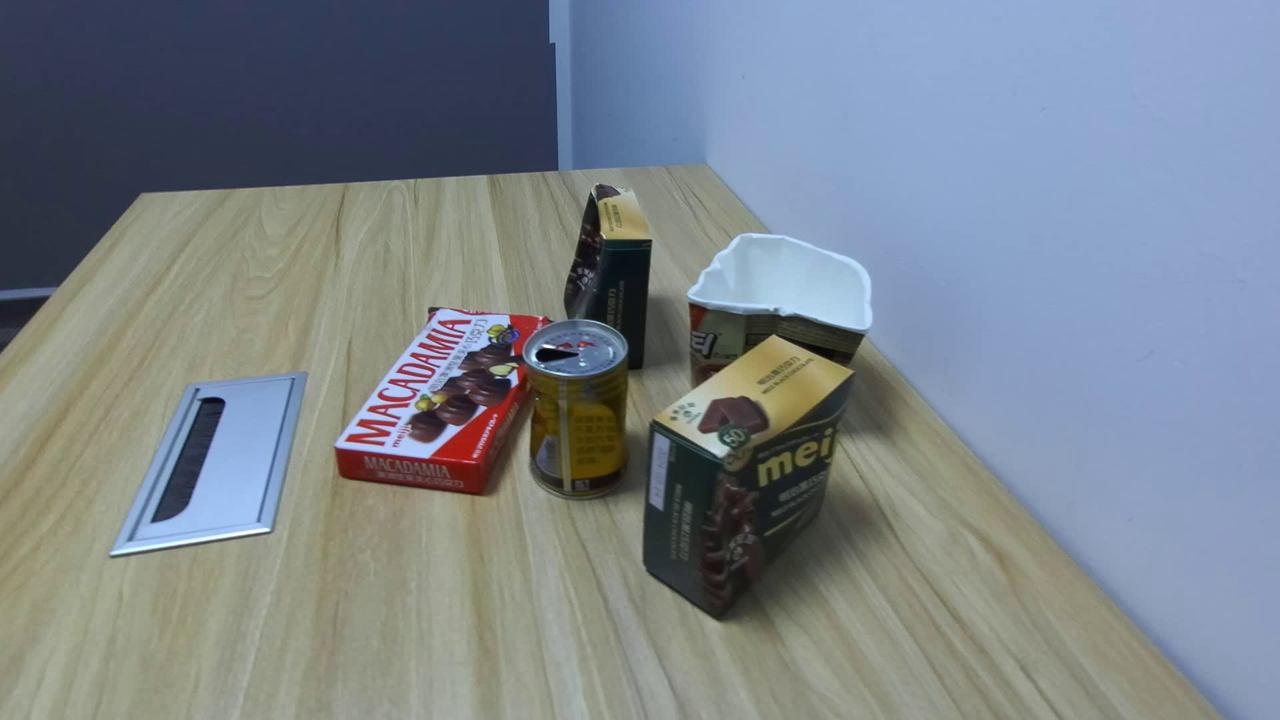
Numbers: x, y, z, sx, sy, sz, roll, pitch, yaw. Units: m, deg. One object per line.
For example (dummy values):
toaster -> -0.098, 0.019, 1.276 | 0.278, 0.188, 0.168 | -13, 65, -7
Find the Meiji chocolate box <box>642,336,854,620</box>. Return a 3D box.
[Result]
Meiji chocolate box -> 0.058, 0.061, 0.376 | 0.058, 0.111, 0.113 | 28, 42, 32

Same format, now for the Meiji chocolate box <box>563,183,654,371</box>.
Meiji chocolate box -> -0.023, -0.065, 0.552 | 0.052, 0.117, 0.117 | 2, 33, -15

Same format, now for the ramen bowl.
ramen bowl -> 0.095, -0.025, 0.509 | 0.113, 0.097, 0.134 | 6, 35, 8

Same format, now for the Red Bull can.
Red Bull can -> -0.037, 0.029, 0.432 | 0.072, 0.092, 0.072 | 0, 37, 0

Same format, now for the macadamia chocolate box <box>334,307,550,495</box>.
macadamia chocolate box -> -0.130, 0.018, 0.505 | 0.106, 0.028, 0.183 | 6, 34, 4
